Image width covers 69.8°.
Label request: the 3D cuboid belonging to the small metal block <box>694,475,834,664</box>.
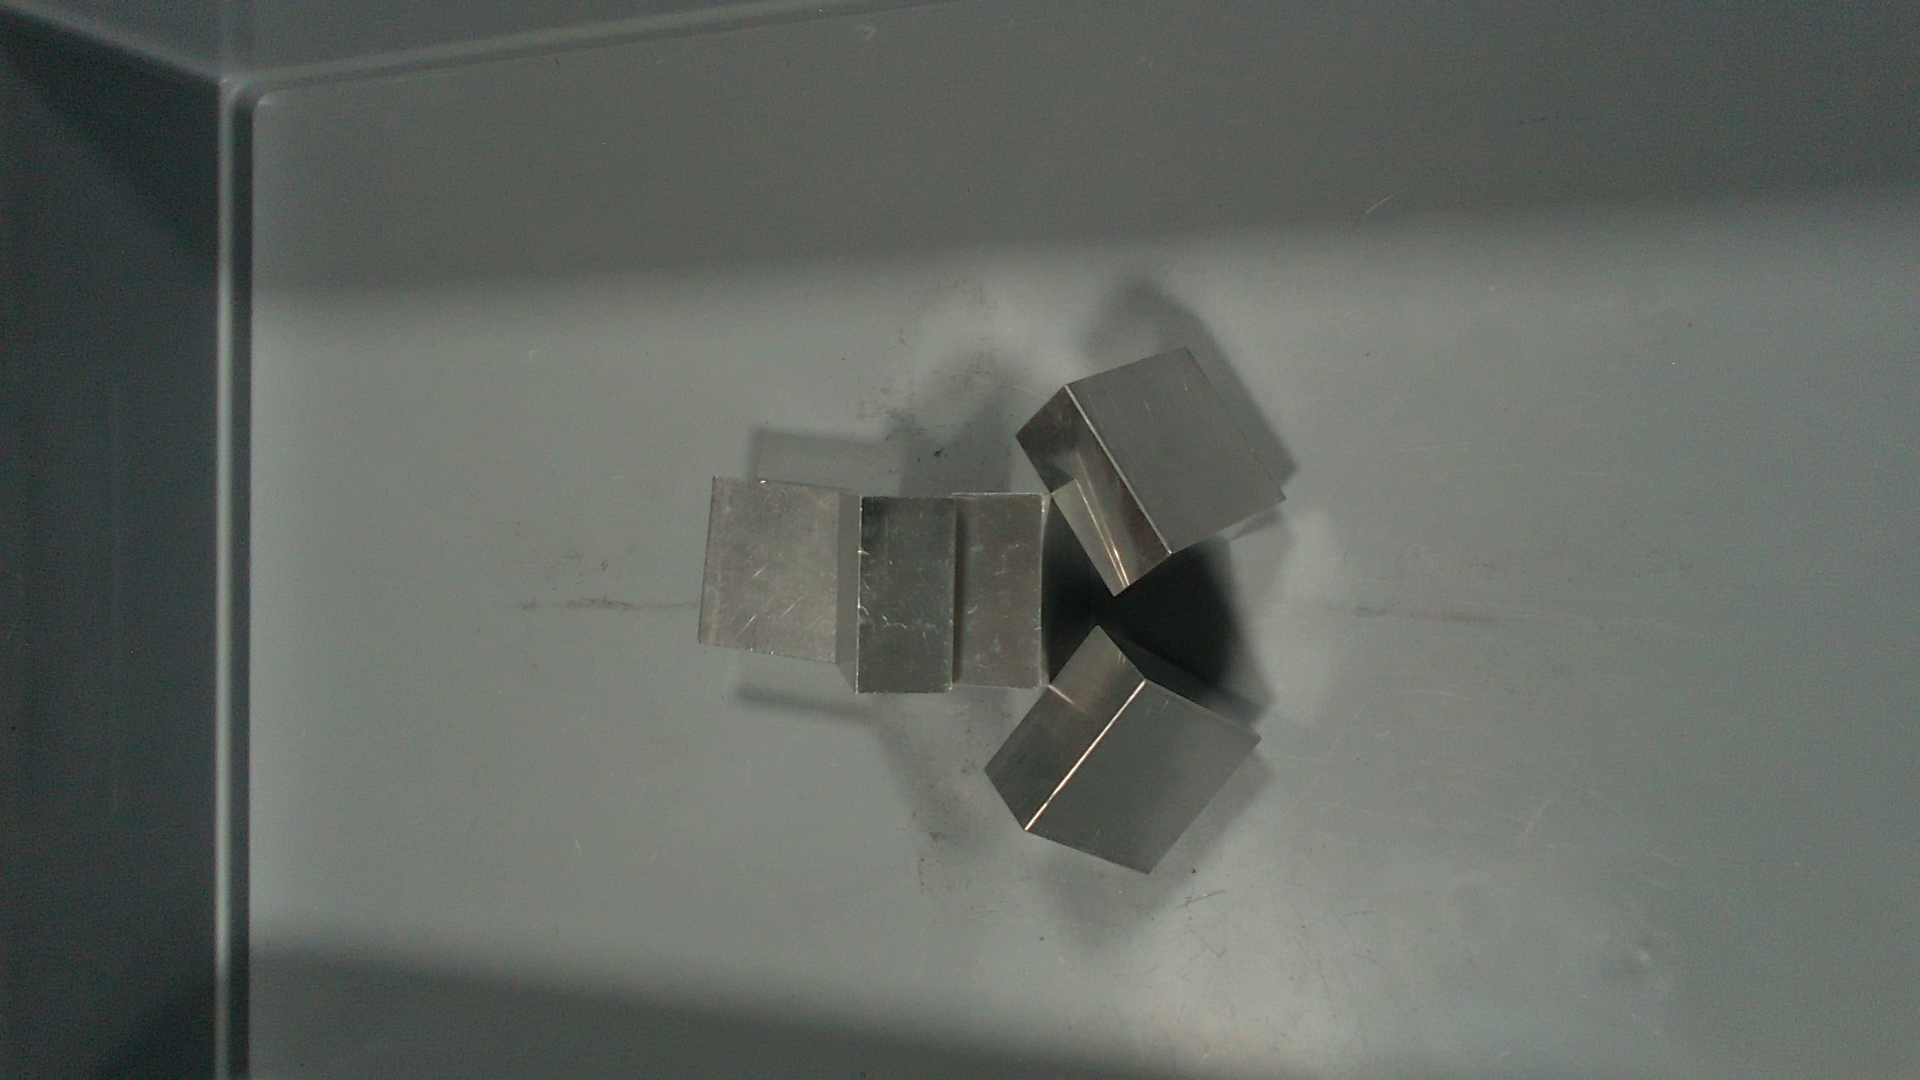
[{"bbox_3d":[-0.049,0.008,0.411,0.050,0.025,0.050,7,92,20],"label":"small metal block"}]

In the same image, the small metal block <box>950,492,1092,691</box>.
[{"bbox_3d":[0.018,0.013,0.375,0.025,0.050,0.050,1,90,20],"label":"small metal block"}]

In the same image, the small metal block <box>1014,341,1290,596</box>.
[{"bbox_3d":[0.051,-0.020,0.360,0.050,0.050,0.025,59,139,10],"label":"small metal block"}]

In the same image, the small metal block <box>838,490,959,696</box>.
[{"bbox_3d":[-0.018,0.013,0.368,0.025,0.050,0.050,1,94,-11],"label":"small metal block"}]

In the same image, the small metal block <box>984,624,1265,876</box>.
[{"bbox_3d":[0.044,0.056,0.363,0.050,0.050,0.025,-53,39,12],"label":"small metal block"}]
